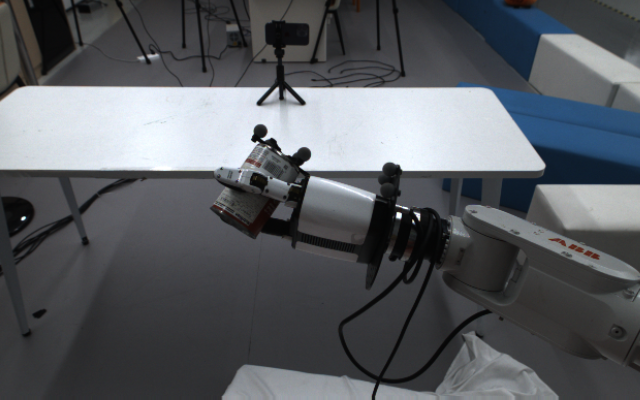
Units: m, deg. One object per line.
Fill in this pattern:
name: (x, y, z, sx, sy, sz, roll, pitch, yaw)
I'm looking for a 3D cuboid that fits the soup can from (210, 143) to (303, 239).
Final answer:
soup can: (-0.079, -0.011, 0.606, 0.067, 0.067, 0.101, 26, 76, 30)
